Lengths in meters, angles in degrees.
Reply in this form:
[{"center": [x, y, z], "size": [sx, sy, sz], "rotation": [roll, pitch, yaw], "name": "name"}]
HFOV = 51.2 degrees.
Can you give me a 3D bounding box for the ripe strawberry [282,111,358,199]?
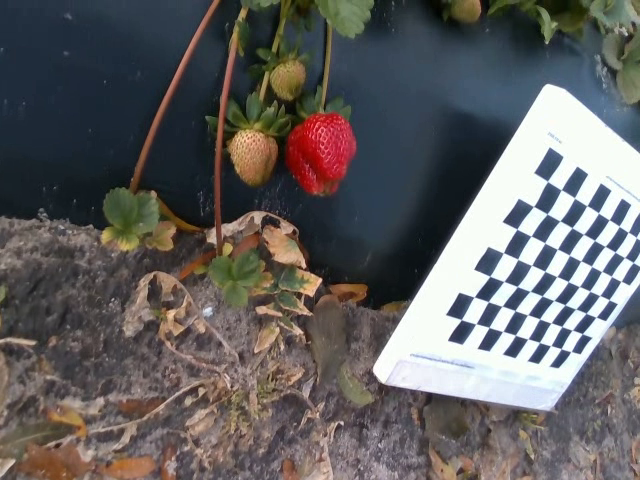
[{"center": [0.009, -0.059, 0.465], "size": [0.066, 0.075, 0.052], "rotation": [-3, 29, -34], "name": "ripe strawberry"}]
